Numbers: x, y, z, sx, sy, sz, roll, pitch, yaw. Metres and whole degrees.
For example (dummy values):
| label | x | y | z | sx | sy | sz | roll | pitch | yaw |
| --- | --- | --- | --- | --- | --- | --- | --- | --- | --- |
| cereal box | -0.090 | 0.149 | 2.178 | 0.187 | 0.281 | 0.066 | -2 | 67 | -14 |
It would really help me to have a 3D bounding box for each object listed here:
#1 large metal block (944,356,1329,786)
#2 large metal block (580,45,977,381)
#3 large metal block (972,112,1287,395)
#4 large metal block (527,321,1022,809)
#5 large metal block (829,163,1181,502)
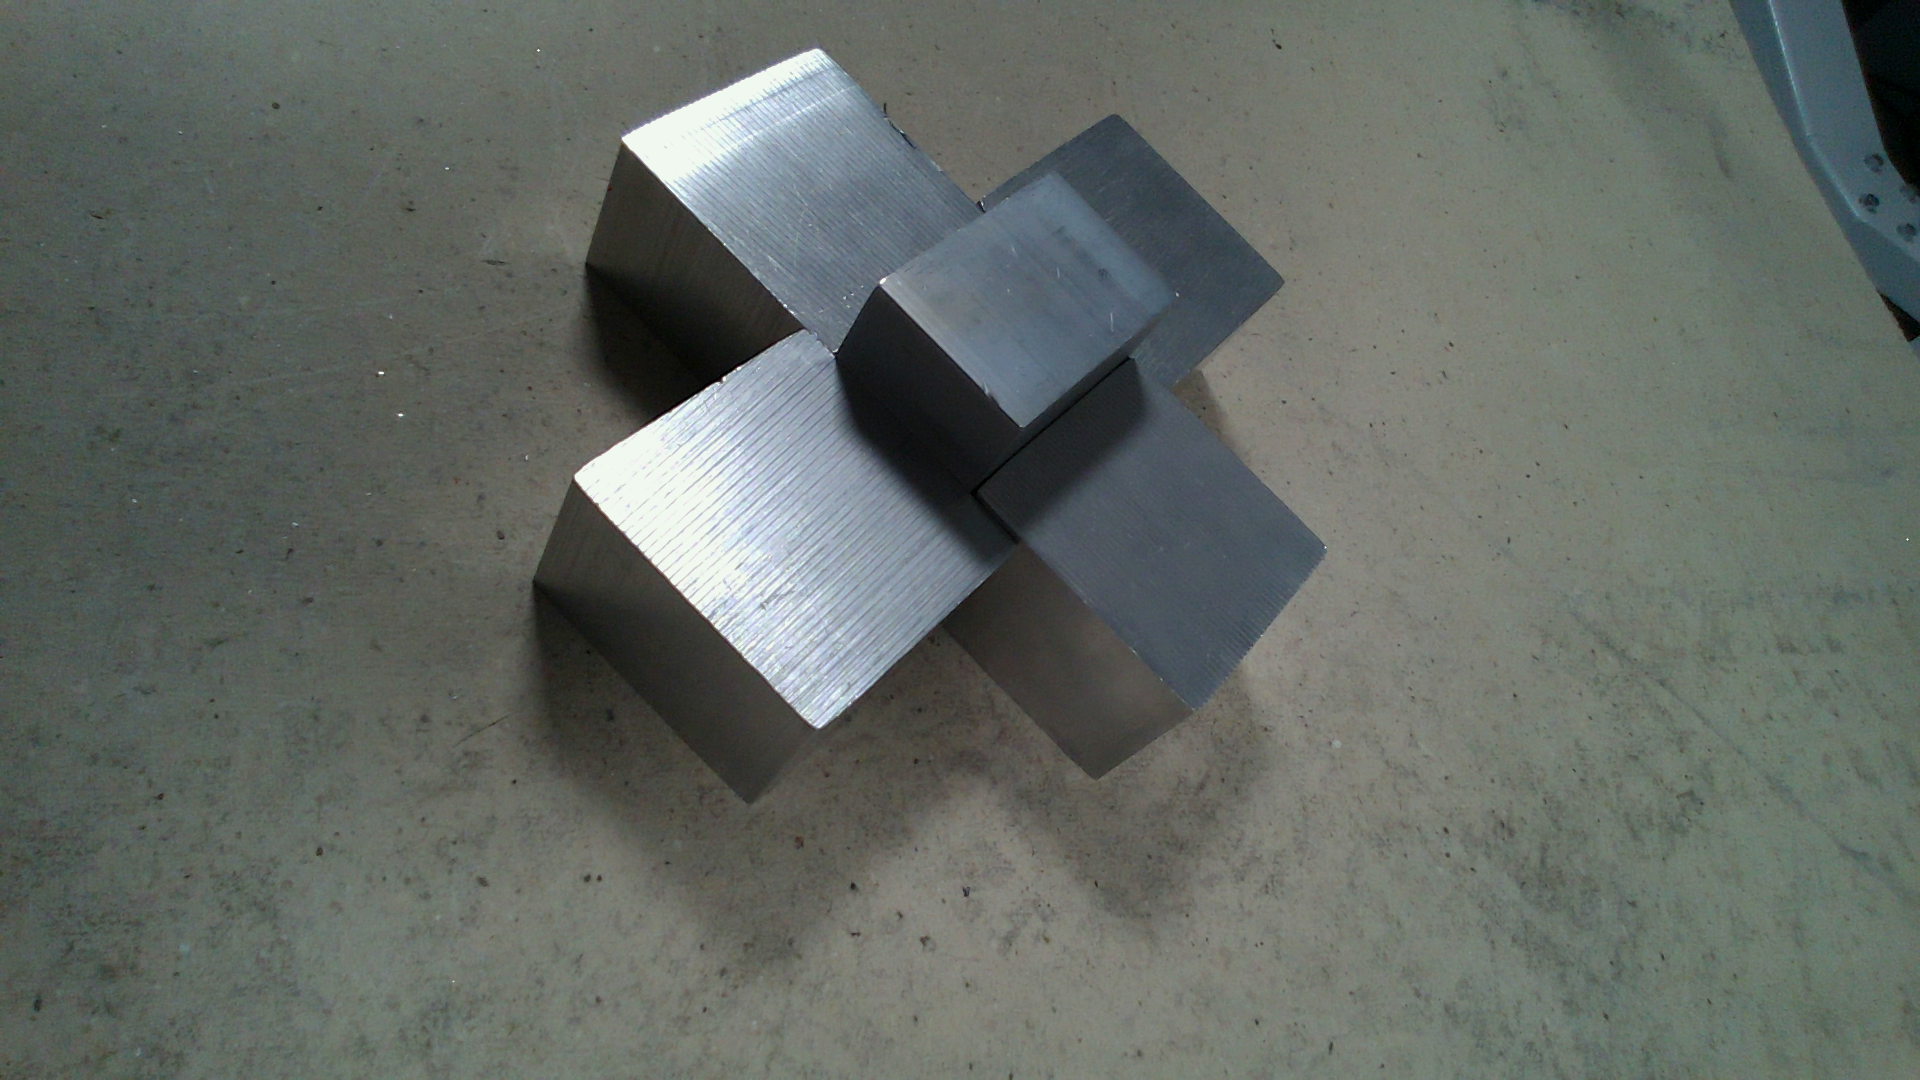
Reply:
| label | x | y | z | sx | sy | sz | roll | pitch | yaw |
| --- | --- | --- | --- | --- | --- | --- | --- | --- | --- |
| large metal block | 0.045 | 0.008 | 0.392 | 0.080 | 0.050 | 0.080 | 45 | 51 | 3 |
| large metal block | -0.048 | -0.086 | 0.399 | 0.080 | 0.050 | 0.080 | 45 | 51 | 3 |
| large metal block | 0.046 | -0.080 | 0.446 | 0.080 | 0.050 | 0.080 | 45 | 51 | 3 |
| large metal block | -0.046 | 0.005 | 0.345 | 0.080 | 0.050 | 0.080 | 45 | 51 | 3 |
| large metal block | 0.004 | -0.047 | 0.385 | 0.050 | 0.080 | 0.080 | 45 | 51 | 3 |
